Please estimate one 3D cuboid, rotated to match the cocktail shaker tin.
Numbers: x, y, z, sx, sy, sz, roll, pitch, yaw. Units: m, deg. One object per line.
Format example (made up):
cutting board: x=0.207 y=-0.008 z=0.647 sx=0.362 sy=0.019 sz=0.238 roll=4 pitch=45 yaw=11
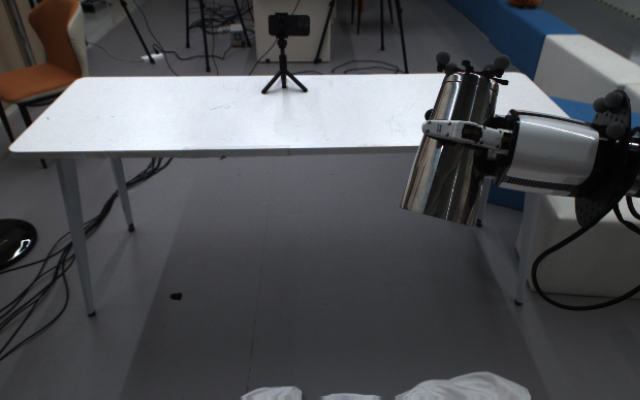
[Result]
cocktail shaker tin: x=0.163 y=-0.062 z=0.589 sx=0.093 sy=0.170 sz=0.093 roll=14 pitch=2 yaw=0
